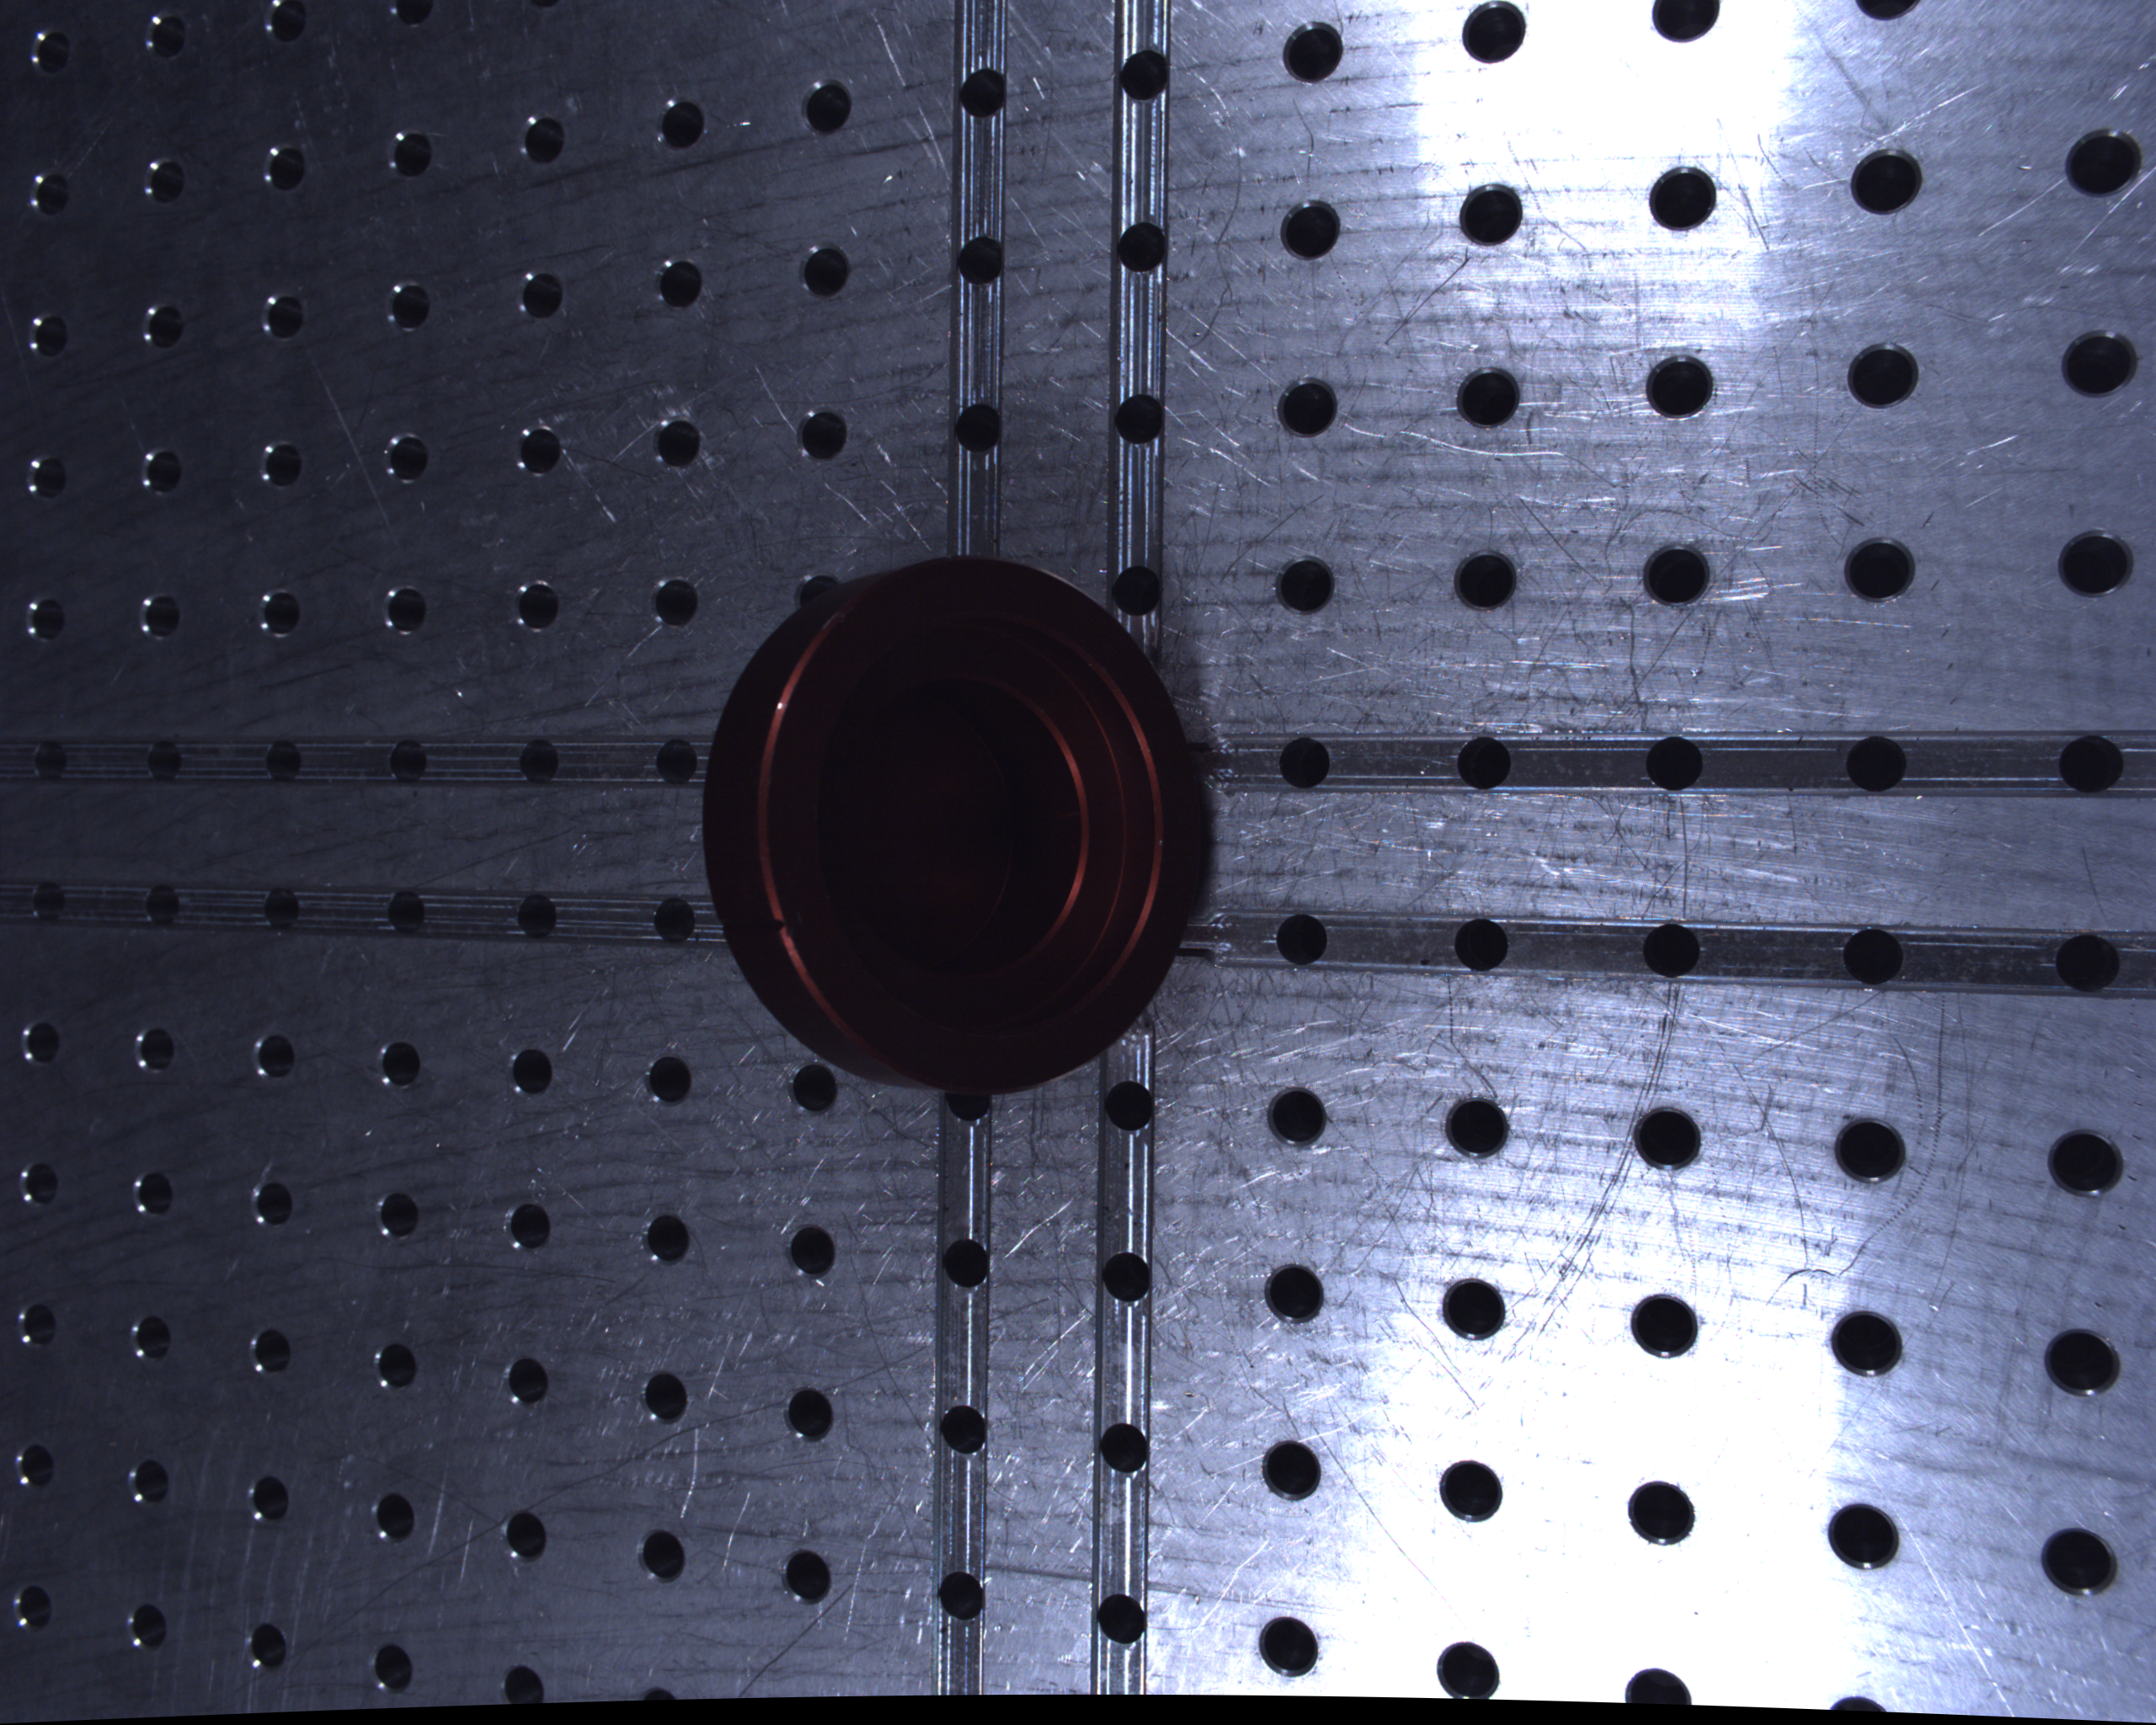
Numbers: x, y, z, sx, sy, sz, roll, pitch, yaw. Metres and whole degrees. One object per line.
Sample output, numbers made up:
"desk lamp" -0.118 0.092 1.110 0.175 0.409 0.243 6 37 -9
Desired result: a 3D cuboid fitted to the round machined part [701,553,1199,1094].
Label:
"round machined part" -0.027 -0.007 0.392 0.042 0.099 0.097 -3 89 51
